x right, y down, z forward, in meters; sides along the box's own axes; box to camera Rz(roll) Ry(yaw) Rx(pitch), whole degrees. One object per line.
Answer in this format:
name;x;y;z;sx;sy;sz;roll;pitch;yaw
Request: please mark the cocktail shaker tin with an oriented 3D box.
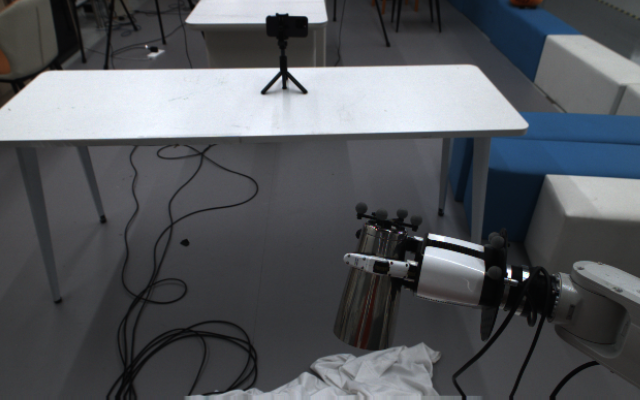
cocktail shaker tin;0.083;0.117;0.713;0.093;0.170;0.093;10;9;-2
